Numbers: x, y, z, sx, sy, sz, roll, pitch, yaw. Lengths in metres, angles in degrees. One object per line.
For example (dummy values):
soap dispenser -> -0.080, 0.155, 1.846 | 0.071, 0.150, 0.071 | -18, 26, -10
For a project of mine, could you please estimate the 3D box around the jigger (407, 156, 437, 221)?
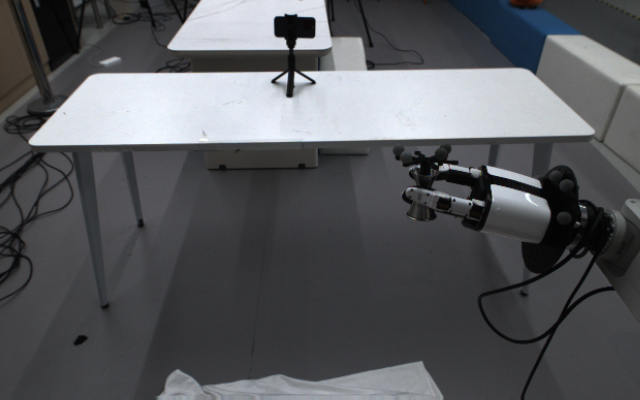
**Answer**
jigger -> 0.148, -0.009, 0.701 | 0.043, 0.071, 0.043 | 0, 21, 0
